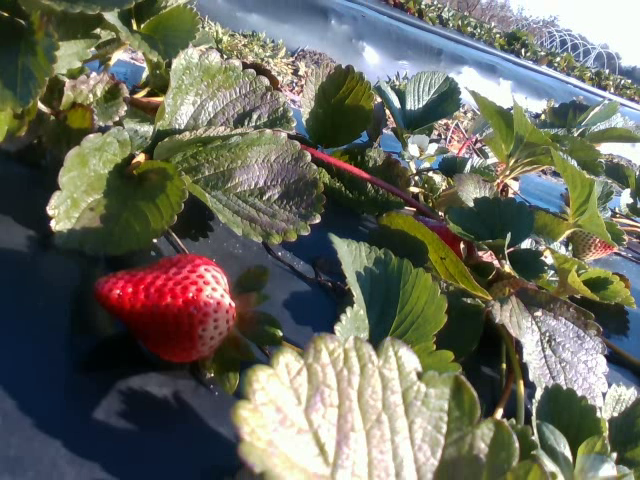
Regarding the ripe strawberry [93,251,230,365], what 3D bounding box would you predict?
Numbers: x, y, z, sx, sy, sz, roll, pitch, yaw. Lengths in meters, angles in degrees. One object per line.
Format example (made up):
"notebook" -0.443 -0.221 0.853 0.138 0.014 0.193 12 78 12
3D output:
"ripe strawberry" -0.049 0.022 0.194 0.055 0.042 0.044 19 -26 -37
